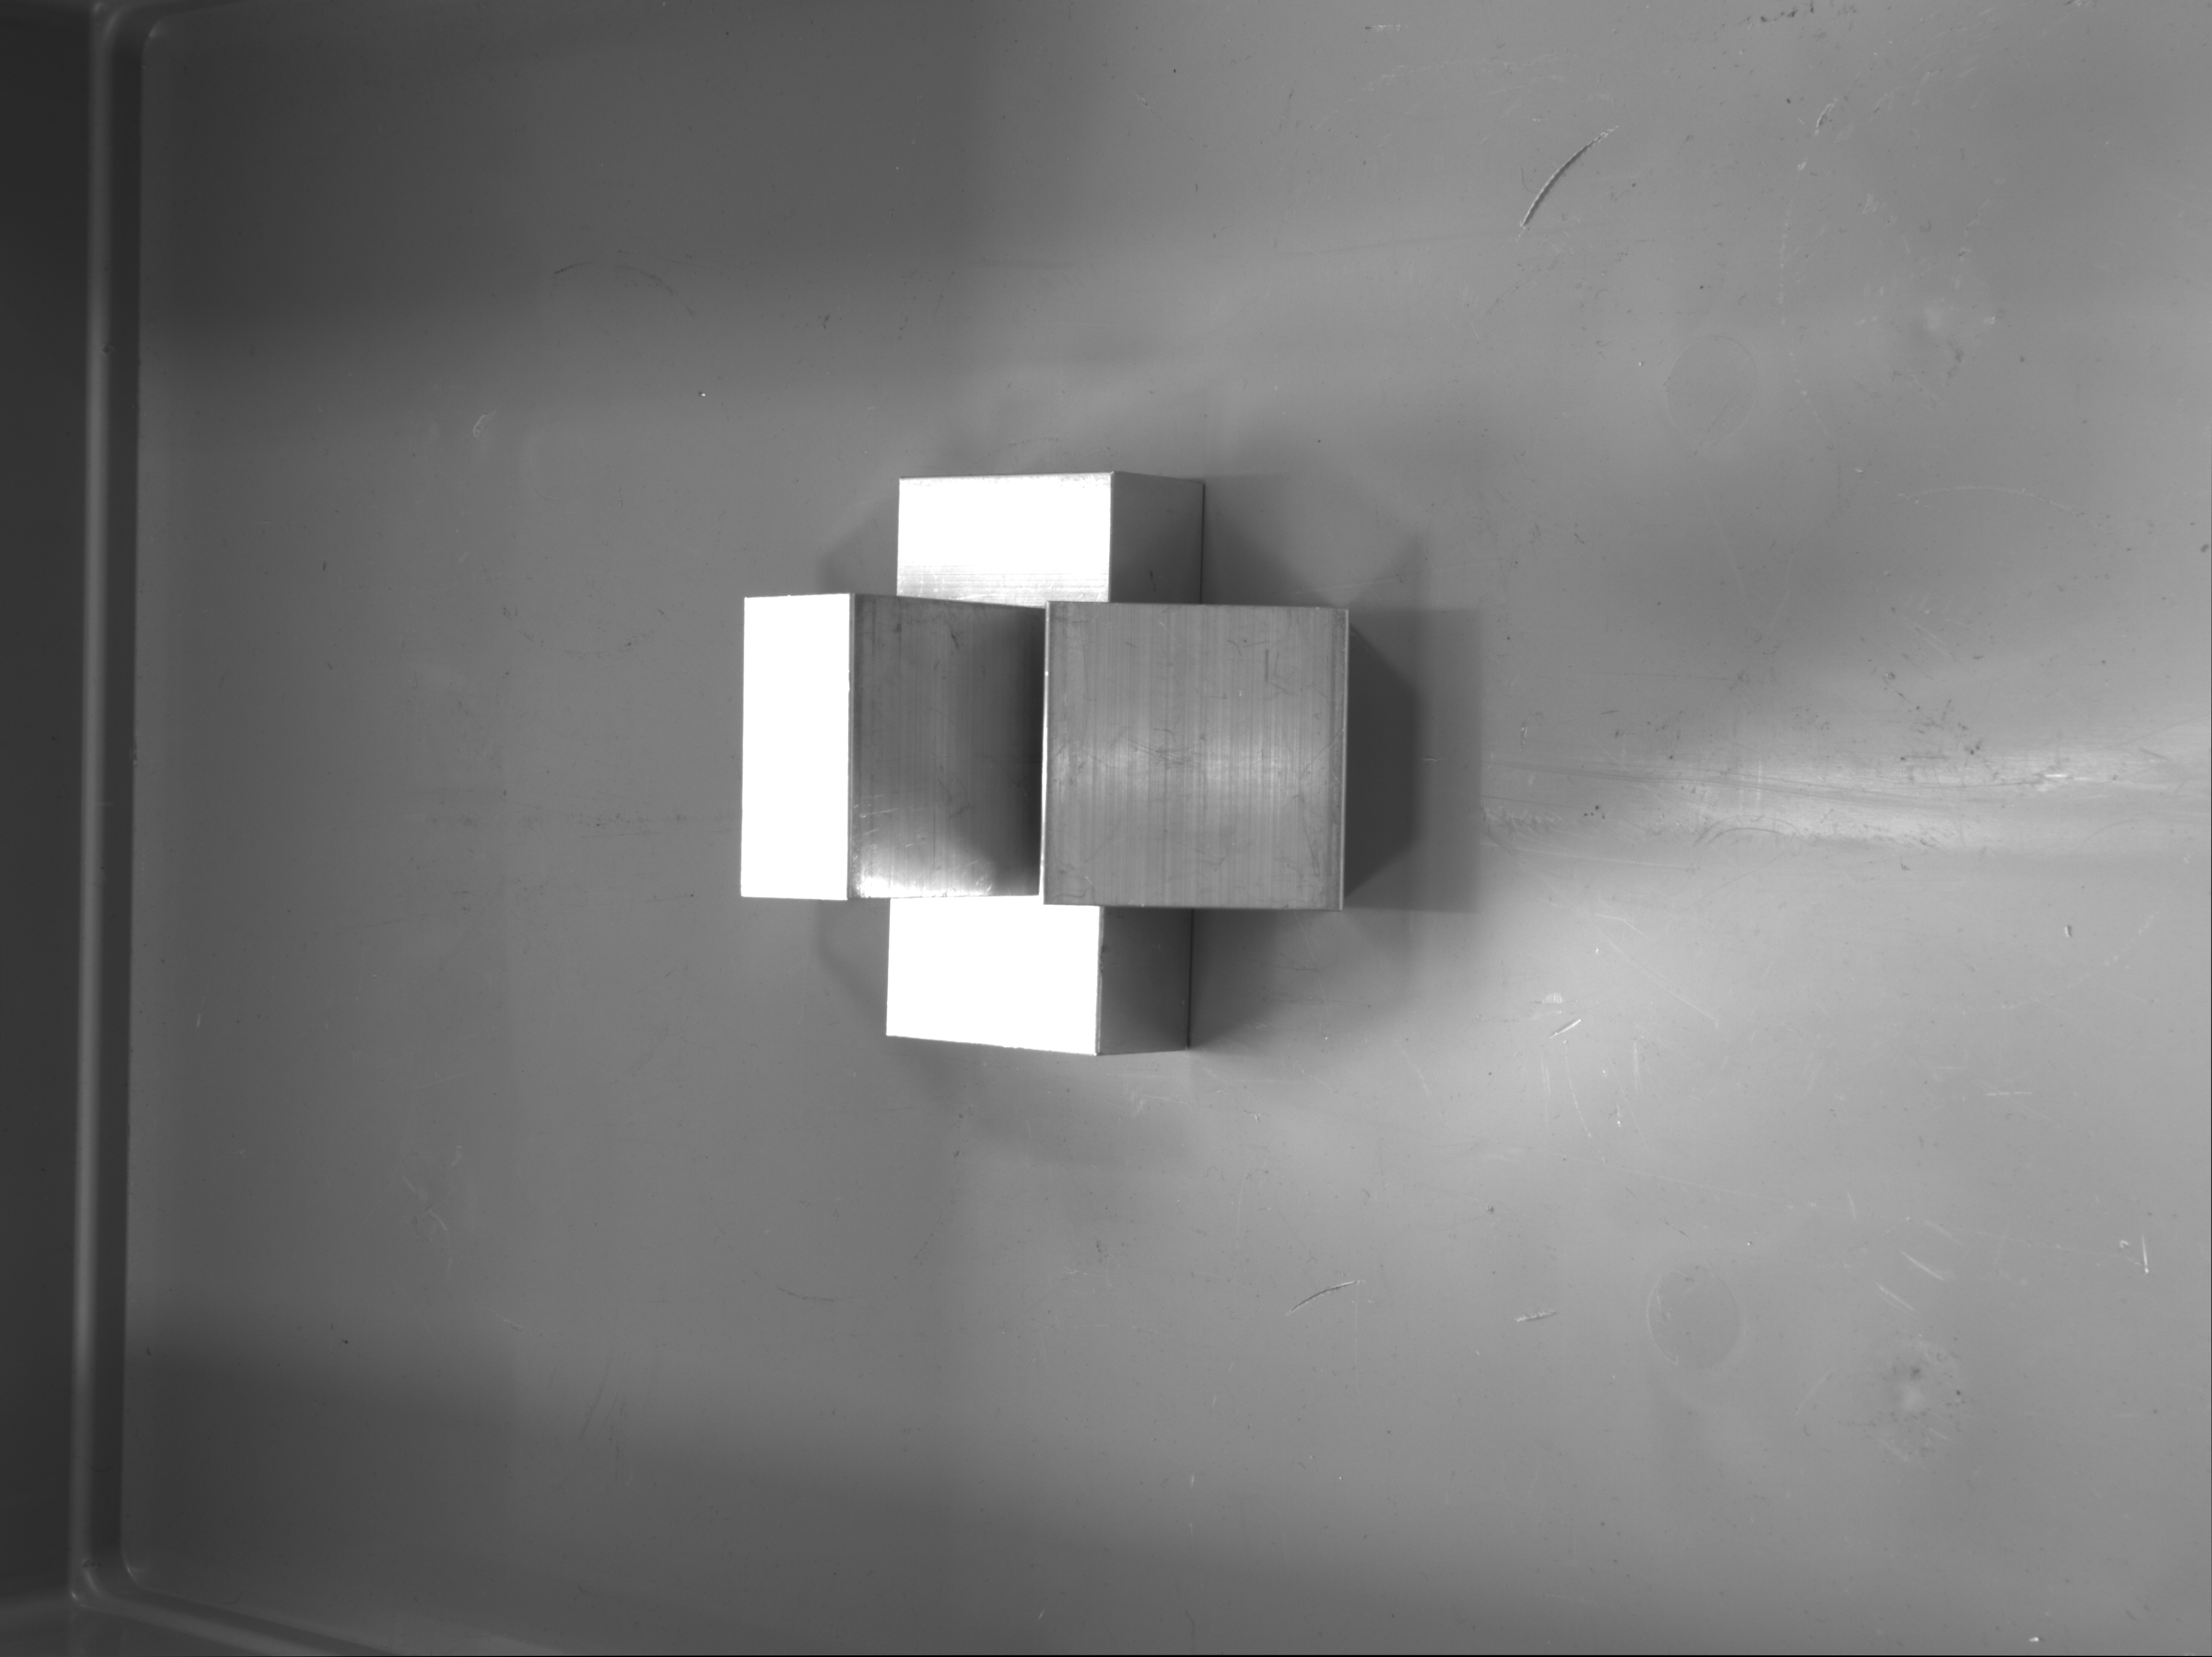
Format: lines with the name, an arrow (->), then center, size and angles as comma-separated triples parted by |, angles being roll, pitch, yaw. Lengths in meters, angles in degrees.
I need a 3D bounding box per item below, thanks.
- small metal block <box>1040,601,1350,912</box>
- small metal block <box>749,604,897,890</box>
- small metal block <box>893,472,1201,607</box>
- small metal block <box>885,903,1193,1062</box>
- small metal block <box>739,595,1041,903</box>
small metal block -> 0.015, -0.012, 0.615 | 0.050, 0.025, 0.050 | 1, 91, 1
small metal block -> -0.052, -0.015, 0.669 | 0.050, 0.025, 0.050 | -175, 85, -84
small metal block -> -0.011, -0.037, 0.652 | 0.050, 0.025, 0.050 | 3, 92, 39
small metal block -> -0.012, 0.014, 0.653 | 0.050, 0.025, 0.050 | 3, 92, 40
small metal block -> -0.035, -0.013, 0.623 | 0.025, 0.050, 0.050 | 1, 90, 40
